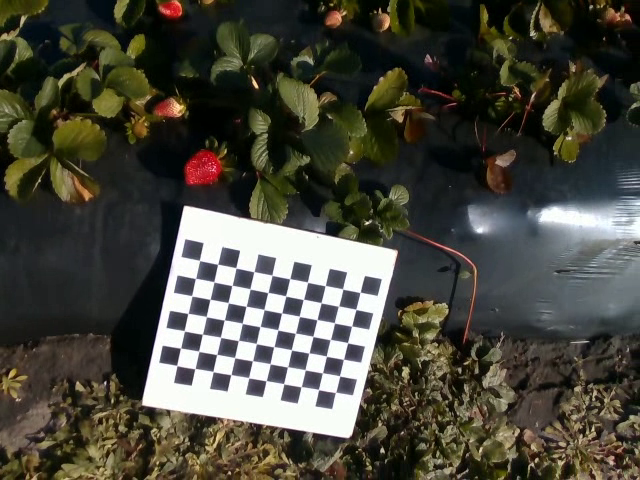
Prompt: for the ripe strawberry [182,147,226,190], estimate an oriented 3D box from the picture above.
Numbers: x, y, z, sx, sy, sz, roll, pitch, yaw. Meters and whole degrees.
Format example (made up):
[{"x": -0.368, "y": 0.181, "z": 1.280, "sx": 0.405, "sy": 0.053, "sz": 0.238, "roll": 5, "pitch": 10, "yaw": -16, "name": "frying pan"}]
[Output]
[{"x": -0.158, "y": -0.094, "z": 0.796, "sx": 0.058, "sy": 0.066, "sz": 0.062, "roll": -31, "pitch": 10, "yaw": 25, "name": "ripe strawberry"}]
